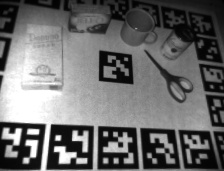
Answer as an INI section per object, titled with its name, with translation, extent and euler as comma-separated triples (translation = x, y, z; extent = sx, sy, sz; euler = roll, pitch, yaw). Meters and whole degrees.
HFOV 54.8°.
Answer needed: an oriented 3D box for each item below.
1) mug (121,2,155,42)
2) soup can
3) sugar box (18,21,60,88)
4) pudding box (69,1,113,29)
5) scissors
[mug]
translation = 0.083, -0.184, 0.660
extent = 0.094, 0.081, 0.116
euler = -32, 79, -21
[soup can]
translation = 0.195, -0.137, 0.671
extent = 0.068, 0.102, 0.067
euler = 5, 67, -12
[sugar box]
translation = -0.186, -0.082, 0.569
extent = 0.093, 0.045, 0.176
euler = 2, 70, -13
[pudding box]
translation = -0.061, -0.200, 0.617
extent = 0.115, 0.089, 0.038
euler = -4, 76, -17
[scissors]
translation = 0.165, -0.038, 0.662
extent = 0.088, 0.016, 0.202
euler = -39, 85, -15
